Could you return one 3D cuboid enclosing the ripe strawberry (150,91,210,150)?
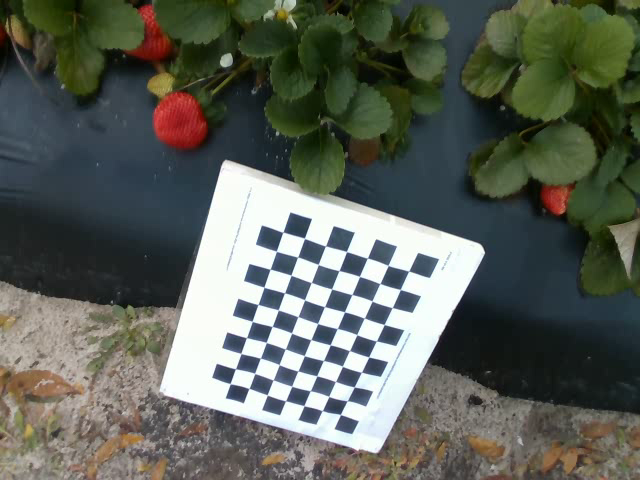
[{"bbox_3d":[-0.144,-0.113,0.578,0.057,0.056,0.065,-11,27,27],"label":"ripe strawberry"}]
